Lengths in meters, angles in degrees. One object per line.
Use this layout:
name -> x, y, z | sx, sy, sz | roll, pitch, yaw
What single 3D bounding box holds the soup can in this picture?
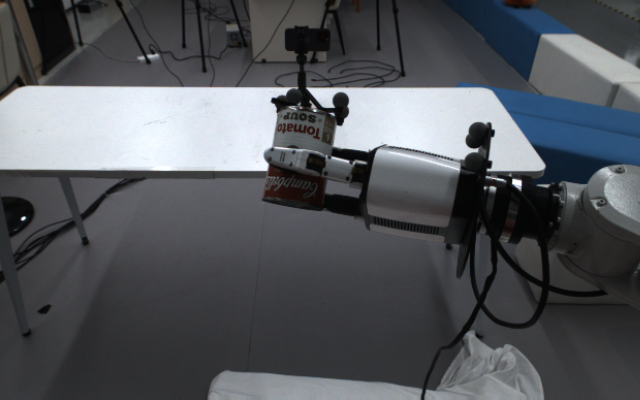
soup can -> -0.020, -0.044, 0.530 | 0.067, 0.101, 0.067 | 9, -5, 1
